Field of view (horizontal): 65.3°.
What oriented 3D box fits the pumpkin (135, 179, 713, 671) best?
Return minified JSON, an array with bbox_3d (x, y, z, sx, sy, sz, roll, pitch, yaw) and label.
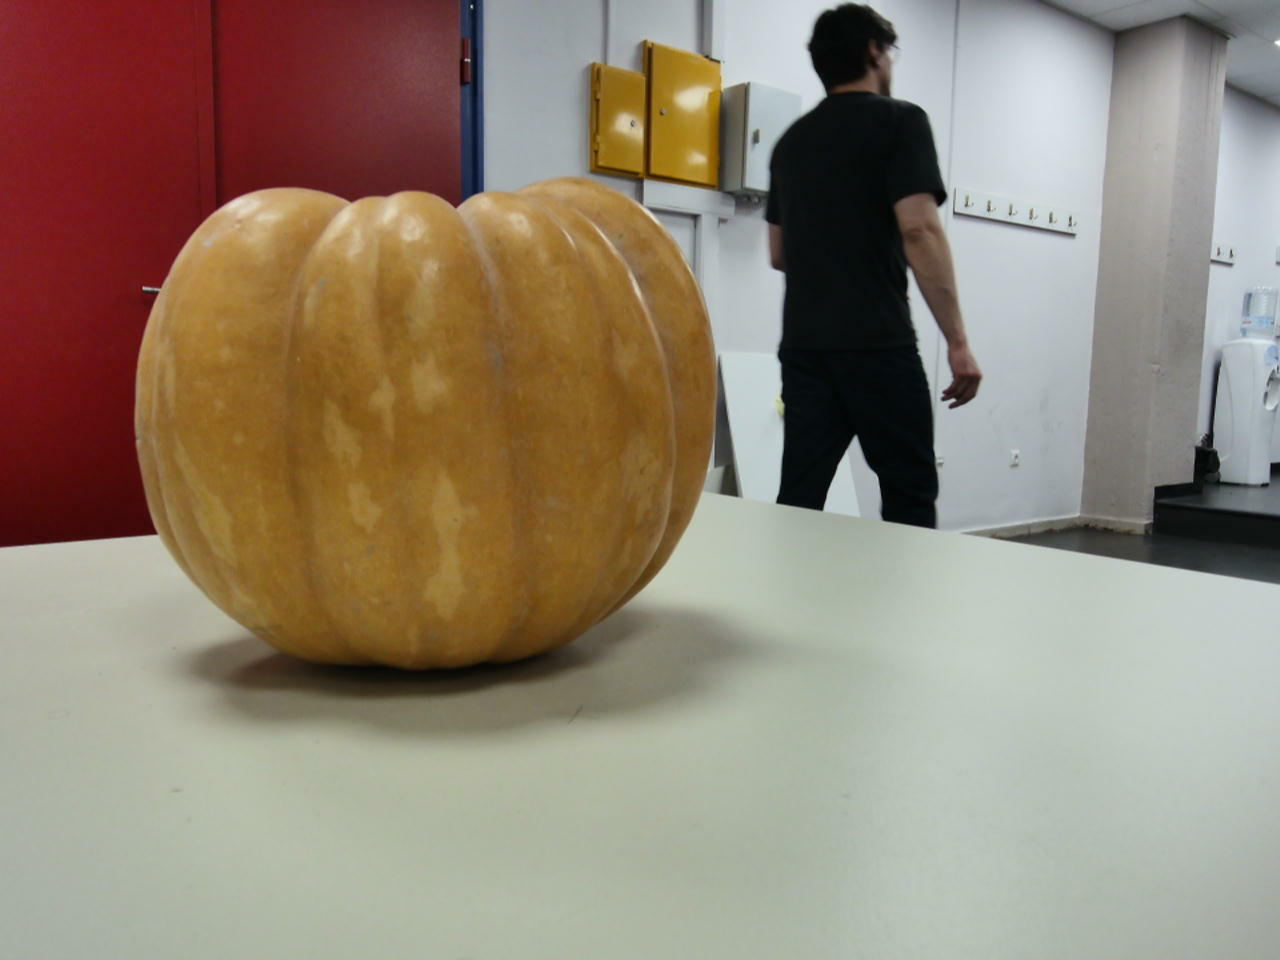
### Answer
[{"bbox_3d":[-0.079,-0.025,0.411,0.230,0.194,0.230,0,4,0],"label":"pumpkin"}]
